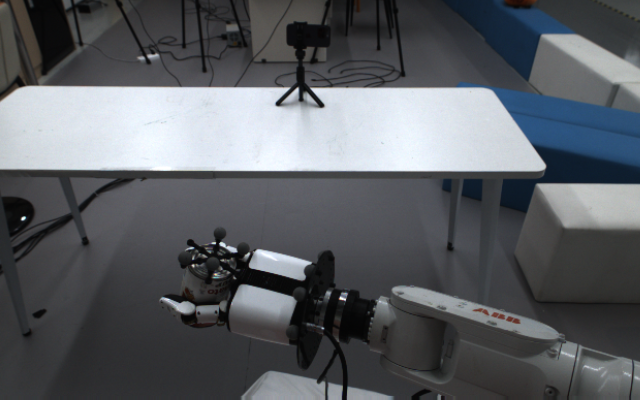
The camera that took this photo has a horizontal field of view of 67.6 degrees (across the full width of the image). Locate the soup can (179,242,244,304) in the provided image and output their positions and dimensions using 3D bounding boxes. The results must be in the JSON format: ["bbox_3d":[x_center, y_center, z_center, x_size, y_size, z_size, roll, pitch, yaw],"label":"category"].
[{"bbox_3d":[-0.157,0.120,0.668,0.067,0.101,0.067,14,35,-10],"label":"soup can"}]
